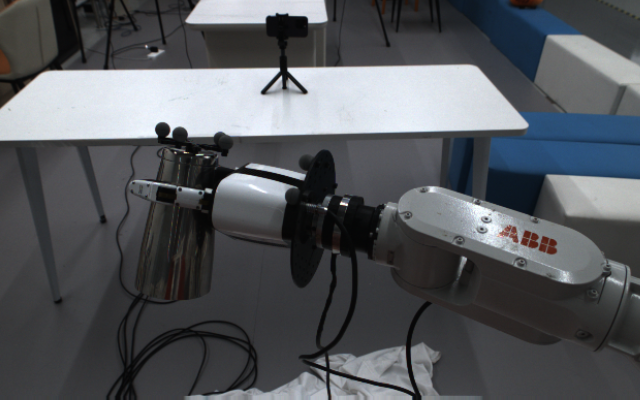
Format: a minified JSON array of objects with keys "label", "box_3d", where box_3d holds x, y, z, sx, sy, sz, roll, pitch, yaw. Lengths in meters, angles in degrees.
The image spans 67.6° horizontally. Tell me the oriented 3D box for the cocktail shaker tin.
[{"label":"cocktail shaker tin","box_3d":[-0.165,0.023,0.591,0.093,0.170,0.093,10,9,-2]}]
